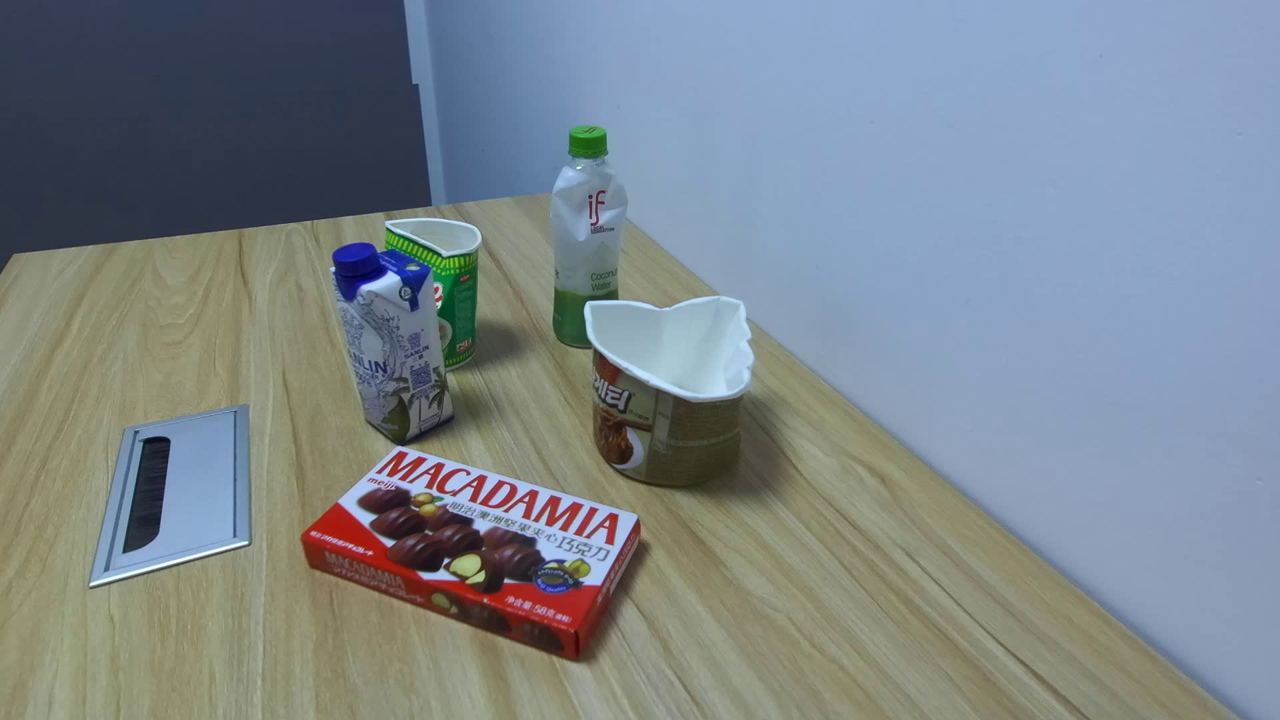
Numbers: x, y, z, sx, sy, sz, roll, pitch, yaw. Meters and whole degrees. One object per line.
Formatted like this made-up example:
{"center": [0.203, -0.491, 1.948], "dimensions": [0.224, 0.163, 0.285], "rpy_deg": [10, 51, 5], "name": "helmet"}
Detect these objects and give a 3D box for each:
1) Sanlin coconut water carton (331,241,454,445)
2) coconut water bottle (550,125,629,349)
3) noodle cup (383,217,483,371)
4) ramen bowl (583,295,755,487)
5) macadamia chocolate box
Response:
{"center": [-0.178, -0.016, 0.509], "dimensions": [0.060, 0.144, 0.061], "rpy_deg": [24, 37, 33], "name": "Sanlin coconut water carton"}
{"center": [-0.046, -0.104, 0.612], "dimensions": [0.067, 0.187, 0.067], "rpy_deg": [2, 31, -1], "name": "coconut water bottle"}
{"center": [-0.176, -0.054, 0.602], "dimensions": [0.075, 0.122, 0.082], "rpy_deg": [-2, 21, -24], "name": "noodle cup"}
{"center": [0.024, 0.024, 0.495], "dimensions": [0.114, 0.097, 0.133], "rpy_deg": [-3, 31, -8], "name": "ramen bowl"}
{"center": [-0.099, 0.109, 0.426], "dimensions": [0.177, 0.027, 0.096], "rpy_deg": [13, 32, 16], "name": "macadamia chocolate box"}
